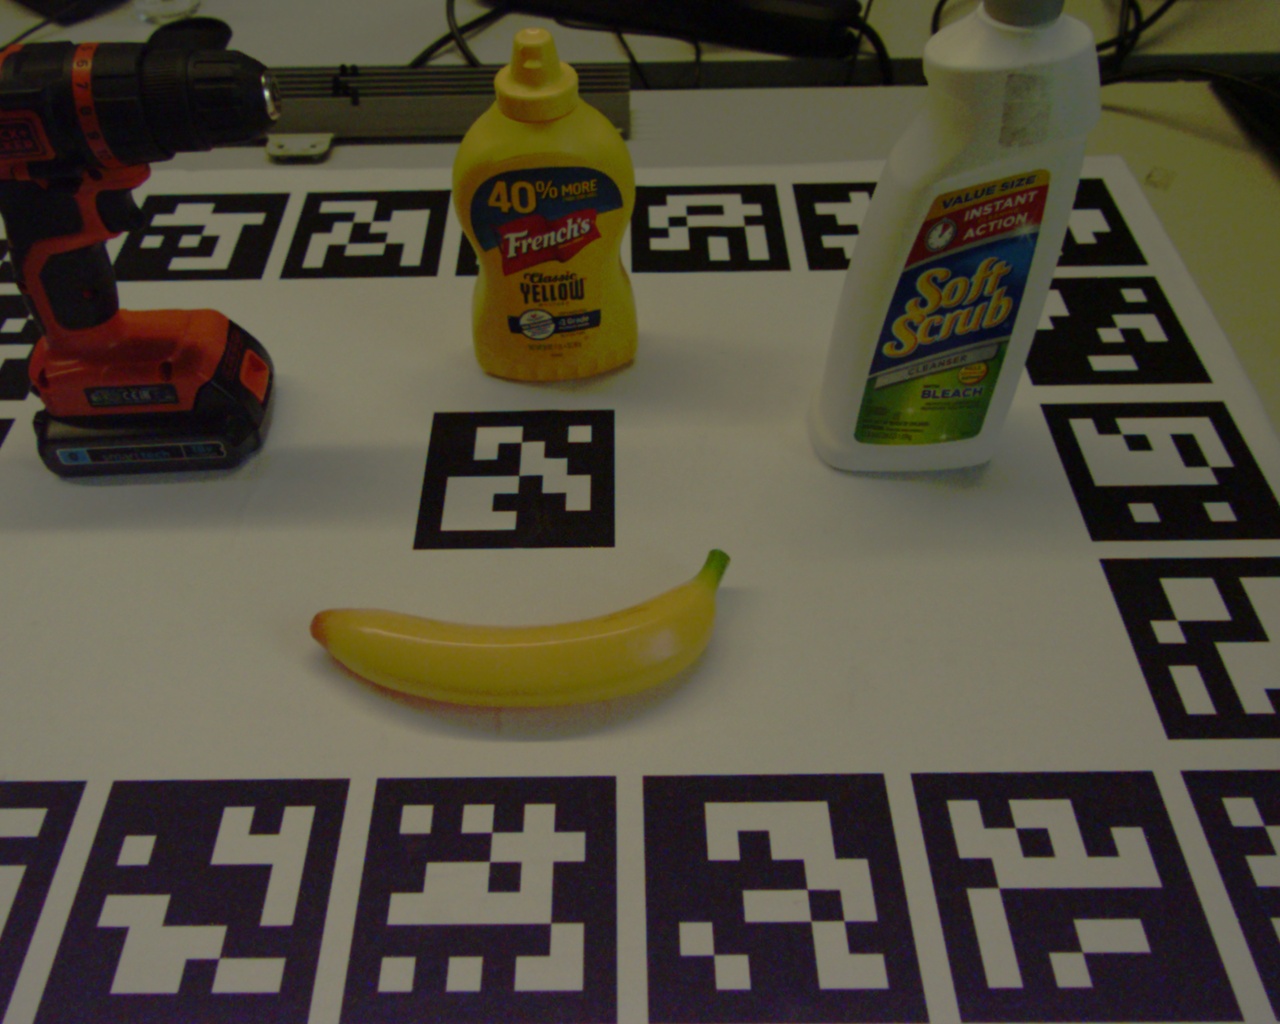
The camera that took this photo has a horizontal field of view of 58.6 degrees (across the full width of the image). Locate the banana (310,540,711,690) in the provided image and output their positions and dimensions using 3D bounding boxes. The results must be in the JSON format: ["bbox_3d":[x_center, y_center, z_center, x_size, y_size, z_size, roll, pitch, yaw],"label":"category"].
[{"bbox_3d":[-0.060,0.051,0.543,0.197,0.038,0.074,-6,51,-1],"label":"banana"}]

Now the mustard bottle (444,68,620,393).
[{"bbox_3d":[-0.059,-0.153,0.636,0.096,0.191,0.059,-5,49,-7],"label":"mustard bottle"}]

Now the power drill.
[{"bbox_3d":[-0.247,-0.137,0.583,0.184,0.186,0.058,-7,49,-1],"label":"power drill"}]

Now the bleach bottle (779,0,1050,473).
[{"bbox_3d":[0.133,-0.127,0.567,0.103,0.250,0.068,6,49,5],"label":"bleach bottle"}]
